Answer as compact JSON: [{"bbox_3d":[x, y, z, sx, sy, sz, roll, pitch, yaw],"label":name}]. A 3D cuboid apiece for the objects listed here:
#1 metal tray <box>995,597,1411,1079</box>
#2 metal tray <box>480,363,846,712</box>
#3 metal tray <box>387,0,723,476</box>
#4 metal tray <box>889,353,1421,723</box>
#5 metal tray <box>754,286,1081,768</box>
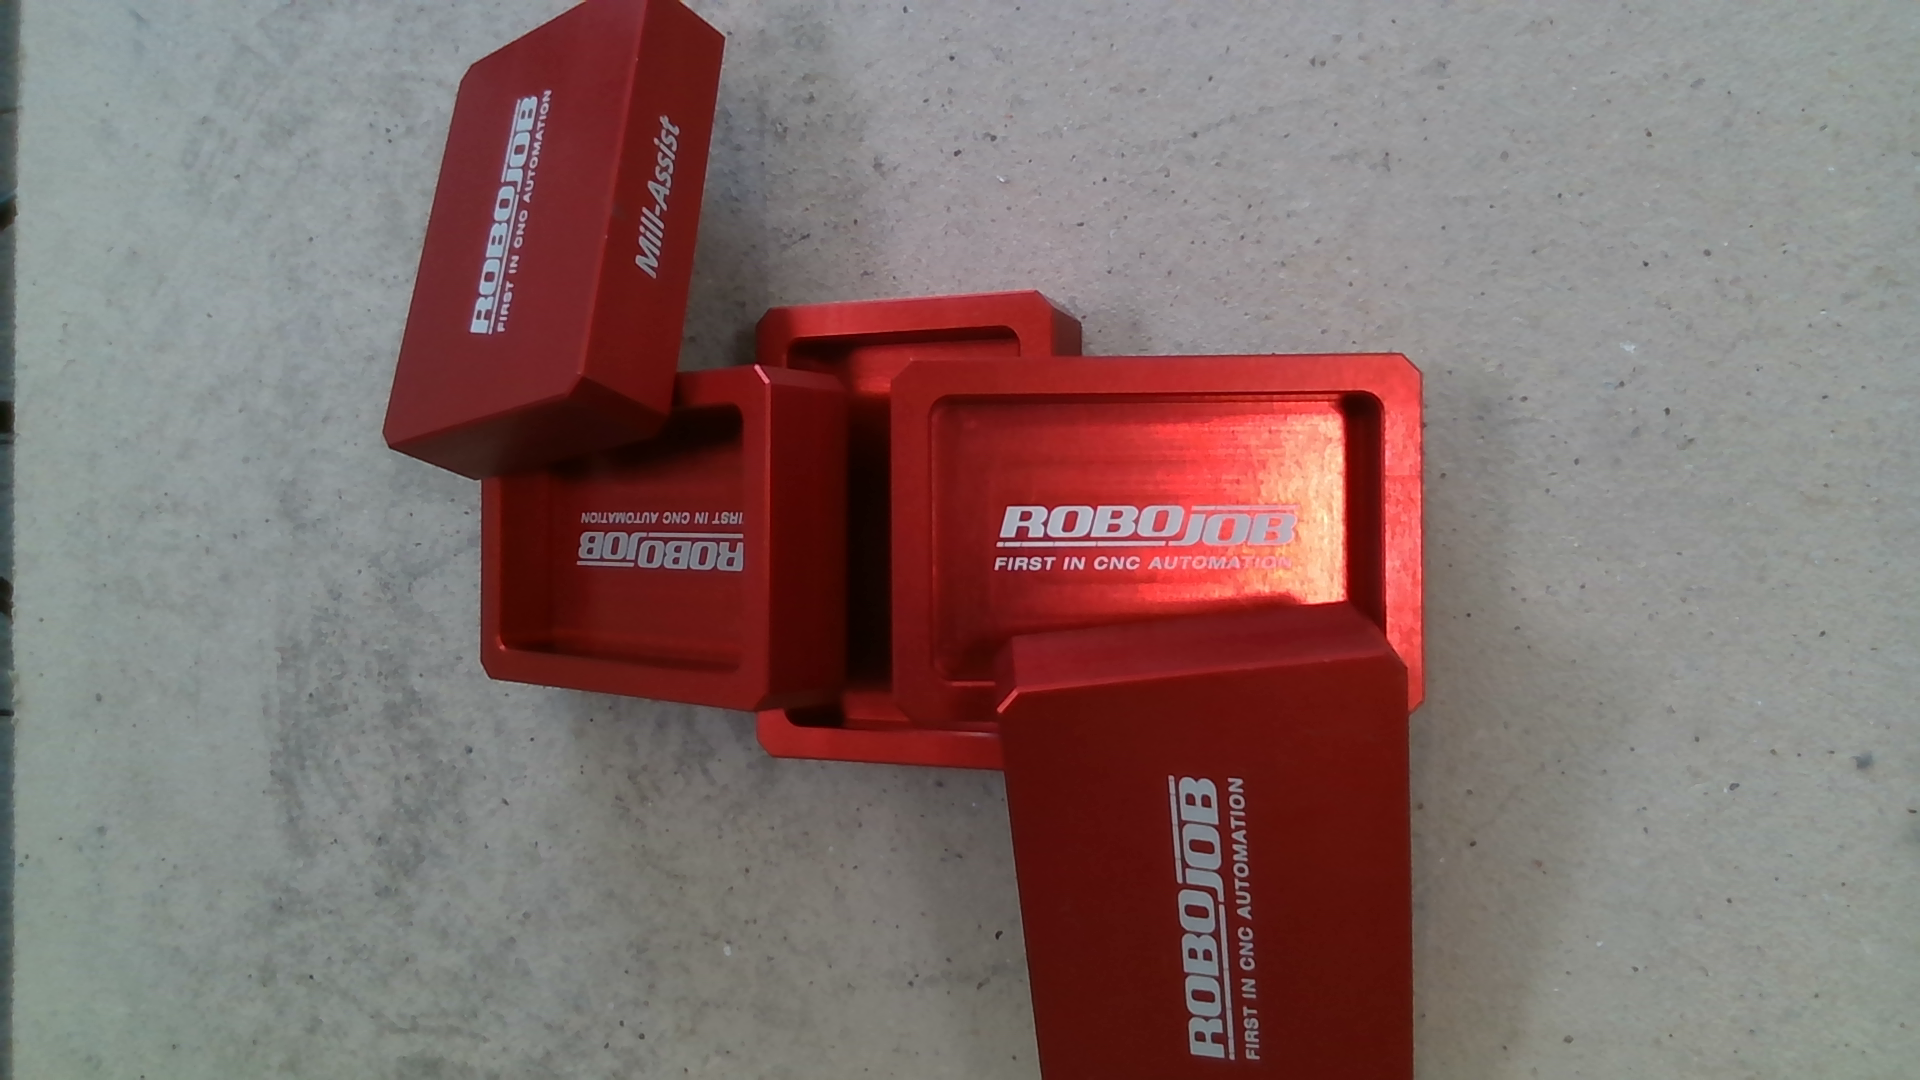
[{"bbox_3d":[0.060,0.083,0.336,0.090,0.030,0.130,-6,110,2],"label":"metal tray"},{"bbox_3d":[-0.091,-0.001,0.403,0.130,0.030,0.090,1,91,39],"label":"metal tray"},{"bbox_3d":[-0.118,-0.090,0.402,0.090,0.030,0.130,-9,69,36],"label":"metal tray"},{"bbox_3d":[0.048,0.000,0.352,0.130,0.030,0.090,-1,90,0],"label":"metal tray"},{"bbox_3d":[-0.012,-0.003,0.396,0.090,0.030,0.130,0,90,20],"label":"metal tray"}]
